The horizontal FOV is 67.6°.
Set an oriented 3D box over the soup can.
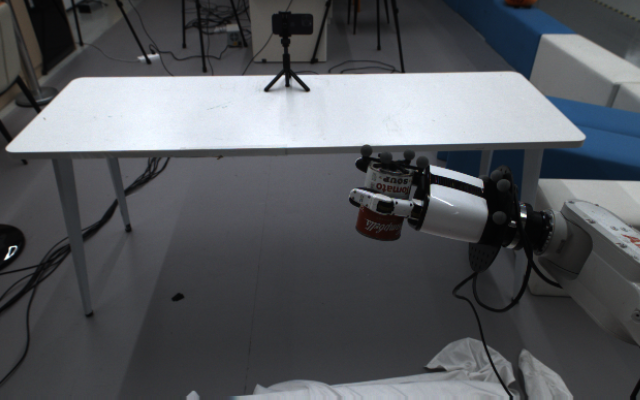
[{"bbox_3d":[0.095,-0.001,0.702,0.067,0.101,0.067,9,19,-3],"label":"soup can"}]
